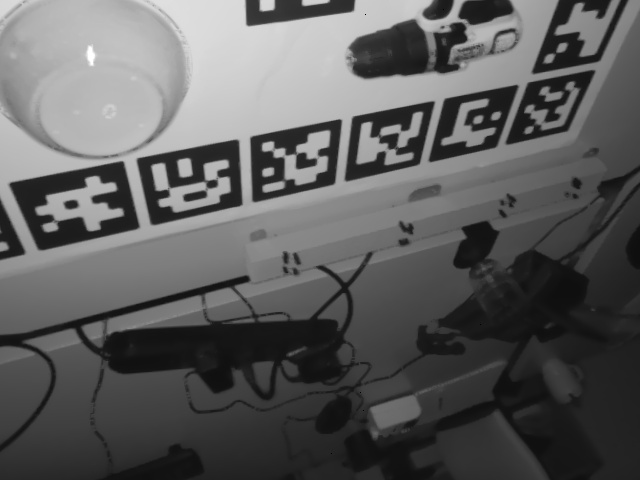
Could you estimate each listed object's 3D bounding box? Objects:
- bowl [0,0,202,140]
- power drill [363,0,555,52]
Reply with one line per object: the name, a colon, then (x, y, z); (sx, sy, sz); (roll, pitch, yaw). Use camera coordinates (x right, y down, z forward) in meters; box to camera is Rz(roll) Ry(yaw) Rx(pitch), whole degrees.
bowl: (-0.166, -0.131, 0.557); (0.163, 0.055, 0.160); (-20, 152, -10)
power drill: (0.133, -0.243, 0.586); (0.186, 0.057, 0.185); (-11, 145, -14)
